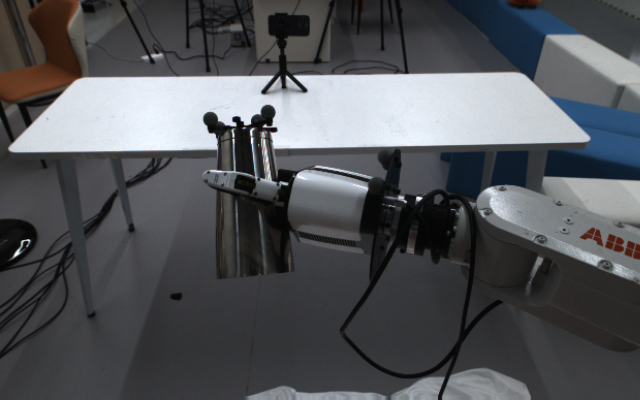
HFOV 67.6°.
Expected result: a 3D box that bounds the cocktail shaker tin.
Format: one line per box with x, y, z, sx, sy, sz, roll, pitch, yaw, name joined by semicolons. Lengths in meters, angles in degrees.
-0.083;0.005;0.580;0.093;0.170;0.093;-6;-7;-1;cocktail shaker tin
